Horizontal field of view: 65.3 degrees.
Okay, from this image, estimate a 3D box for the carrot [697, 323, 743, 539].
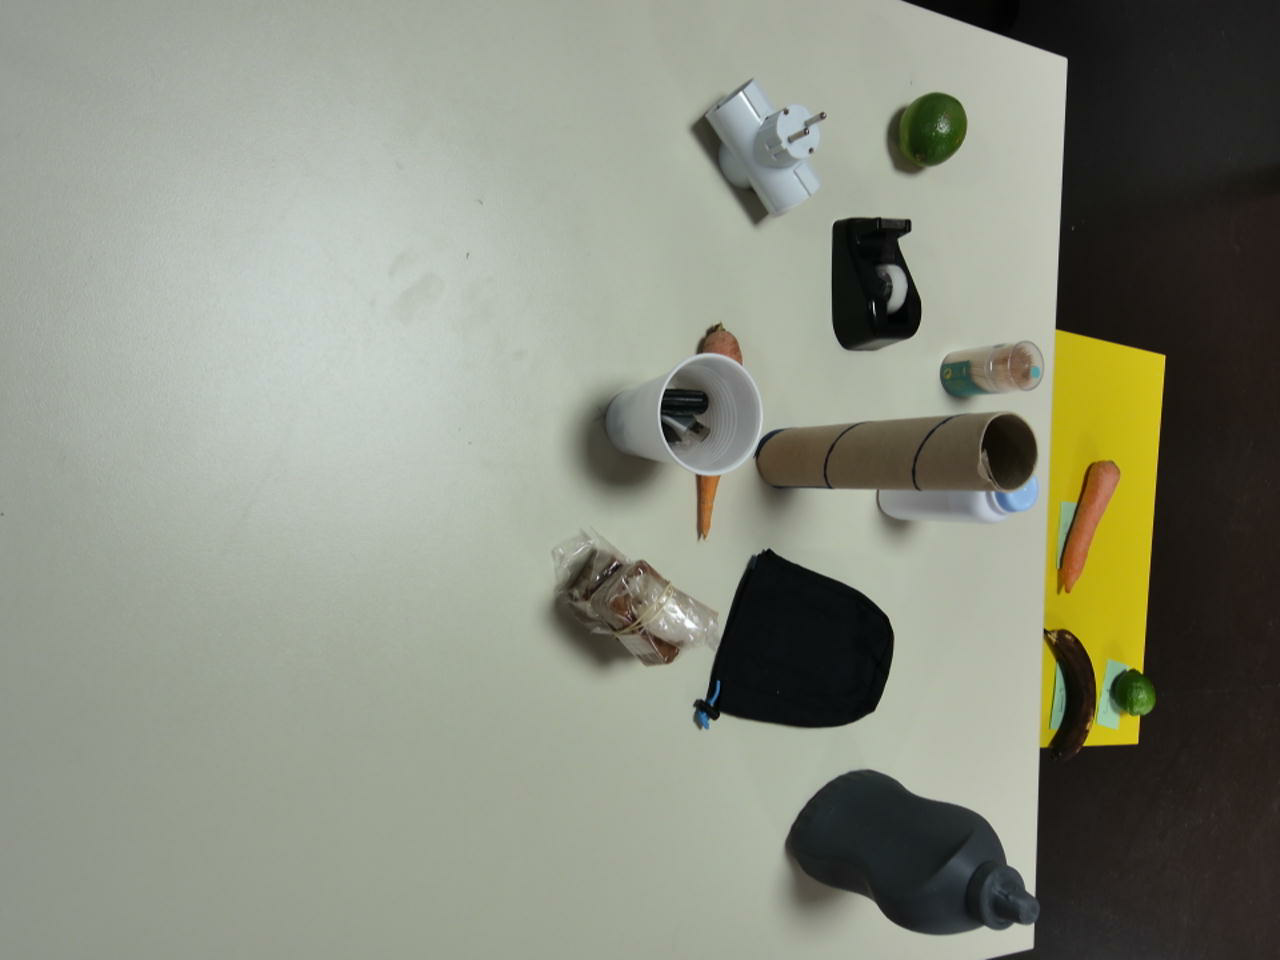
[{"bbox_3d":[0.058,-0.036,0.744,0.031,0.029,0.163,4,89,-28],"label":"carrot"}]
